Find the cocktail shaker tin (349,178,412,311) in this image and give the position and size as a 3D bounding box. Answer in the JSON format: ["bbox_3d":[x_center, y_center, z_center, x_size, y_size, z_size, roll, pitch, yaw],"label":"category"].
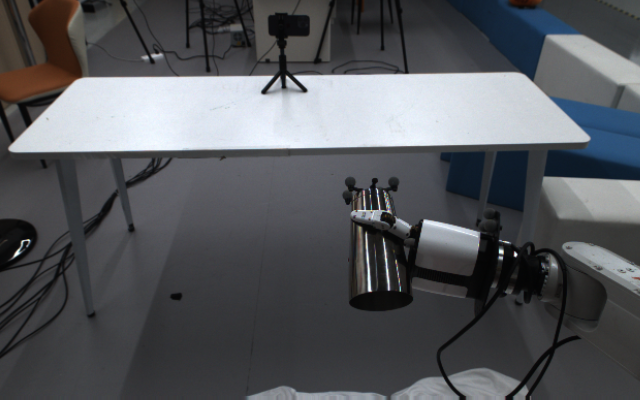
[{"bbox_3d":[0.084,0.070,0.726,0.093,0.093,0.170,0,59,-3],"label":"cocktail shaker tin"}]
